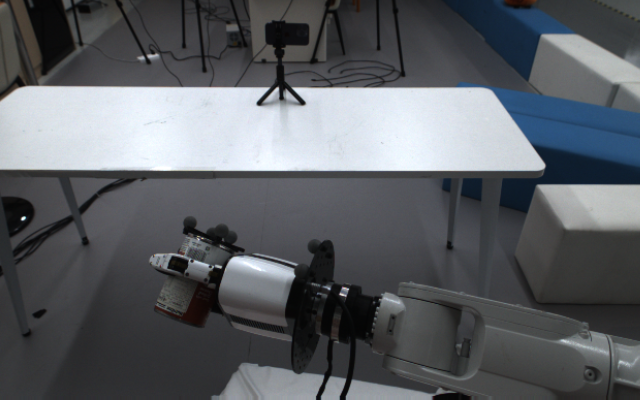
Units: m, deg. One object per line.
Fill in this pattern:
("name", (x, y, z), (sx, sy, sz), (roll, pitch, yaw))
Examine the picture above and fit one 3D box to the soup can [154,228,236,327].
("soup can", (-0.156, 0.102, 0.608), (0.067, 0.067, 0.101), (16, 75, 19))
